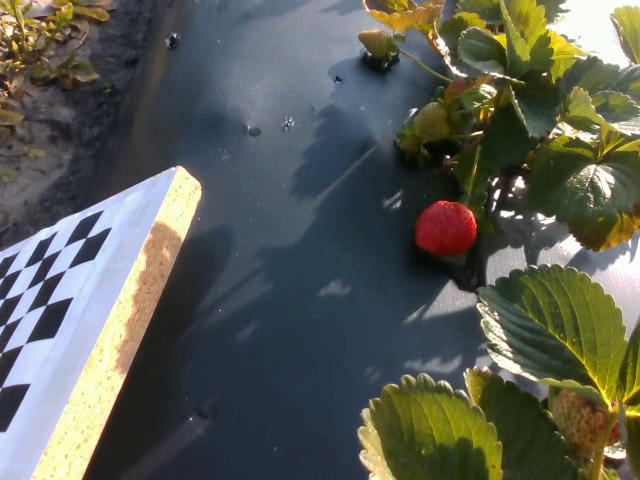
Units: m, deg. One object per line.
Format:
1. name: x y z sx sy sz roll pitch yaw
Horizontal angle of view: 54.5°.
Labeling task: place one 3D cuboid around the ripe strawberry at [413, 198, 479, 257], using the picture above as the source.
1. ripe strawberry: 0.063 -0.003 0.314 0.044 0.033 0.030 -25 20 -31
